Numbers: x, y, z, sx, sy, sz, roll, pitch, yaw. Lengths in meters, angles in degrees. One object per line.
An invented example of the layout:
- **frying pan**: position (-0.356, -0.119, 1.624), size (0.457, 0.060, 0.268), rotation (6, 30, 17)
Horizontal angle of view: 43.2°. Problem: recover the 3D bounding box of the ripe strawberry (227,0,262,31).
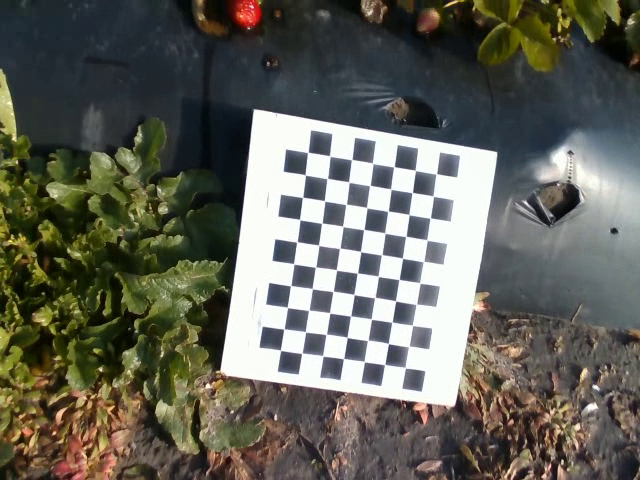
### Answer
- **ripe strawberry**: position (-0.063, -0.215, 0.771), size (0.046, 0.054, 0.038), rotation (31, -50, -11)
